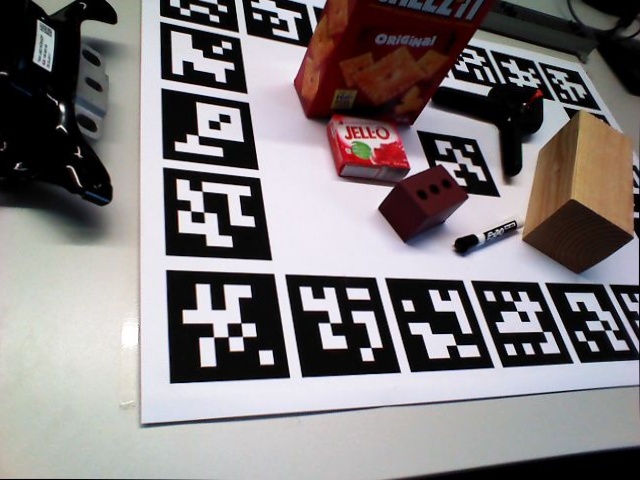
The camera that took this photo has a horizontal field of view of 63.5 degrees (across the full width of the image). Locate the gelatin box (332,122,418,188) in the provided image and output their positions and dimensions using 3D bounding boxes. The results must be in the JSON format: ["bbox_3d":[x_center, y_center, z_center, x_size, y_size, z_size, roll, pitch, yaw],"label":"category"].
[{"bbox_3d":[0.065,-0.100,0.613,0.089,0.030,0.073,1,62,-24],"label":"gelatin box"}]

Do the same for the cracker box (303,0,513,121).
[{"bbox_3d":[0.097,-0.235,0.587,0.163,0.215,0.072,0,60,-27],"label":"cracker box"}]

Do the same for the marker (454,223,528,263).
[{"bbox_3d":[0.202,0.003,0.613,0.120,0.020,0.019,-18,71,-32],"label":"marker"}]

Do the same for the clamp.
[{"bbox_3d":[0.282,-0.183,0.756,0.201,0.037,0.165,-31,77,-35],"label":"clamp"}]

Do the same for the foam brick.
[{"bbox_3d":[0.121,-0.034,0.581,0.077,0.052,0.052,-24,74,-33],"label":"foam brick"}]

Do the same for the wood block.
[{"bbox_3d":[0.351,-0.063,0.683,0.090,0.091,0.204,31,50,-1],"label":"wood block"}]
